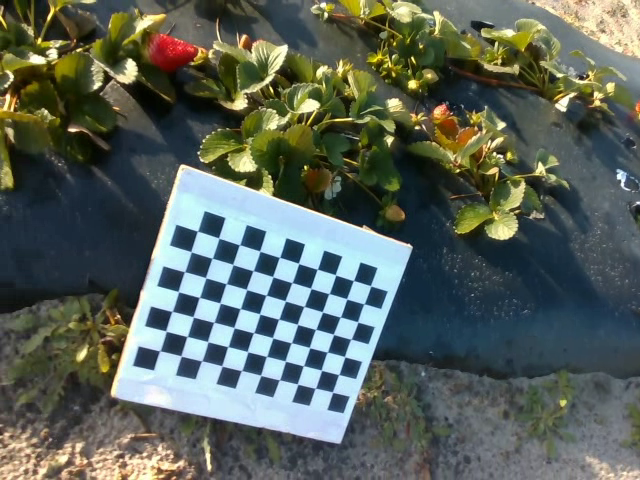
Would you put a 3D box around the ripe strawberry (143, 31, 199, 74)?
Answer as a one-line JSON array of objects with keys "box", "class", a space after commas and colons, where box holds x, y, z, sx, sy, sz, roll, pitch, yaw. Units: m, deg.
[{"box": [-0.180, -0.230, 0.780, 0.072, 0.057, 0.055, -6, 14, -5], "class": "ripe strawberry"}]
